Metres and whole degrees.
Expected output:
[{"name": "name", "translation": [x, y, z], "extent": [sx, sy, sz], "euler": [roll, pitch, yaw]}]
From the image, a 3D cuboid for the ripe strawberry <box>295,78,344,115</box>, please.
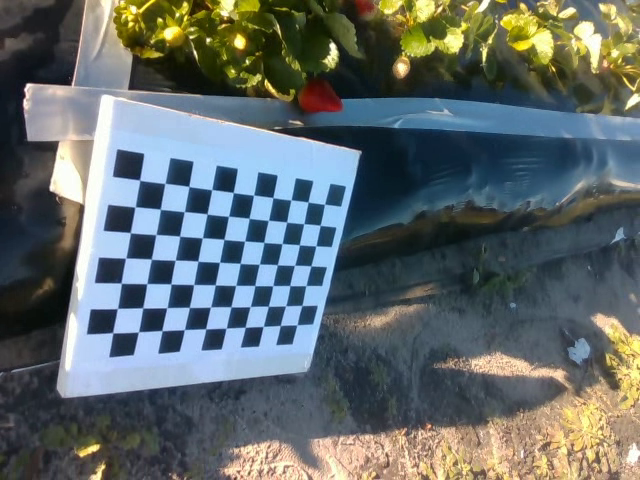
[{"name": "ripe strawberry", "translation": [-0.001, -0.160, 0.670], "extent": [0.063, 0.045, 0.048], "euler": [31, -5, 21]}]
